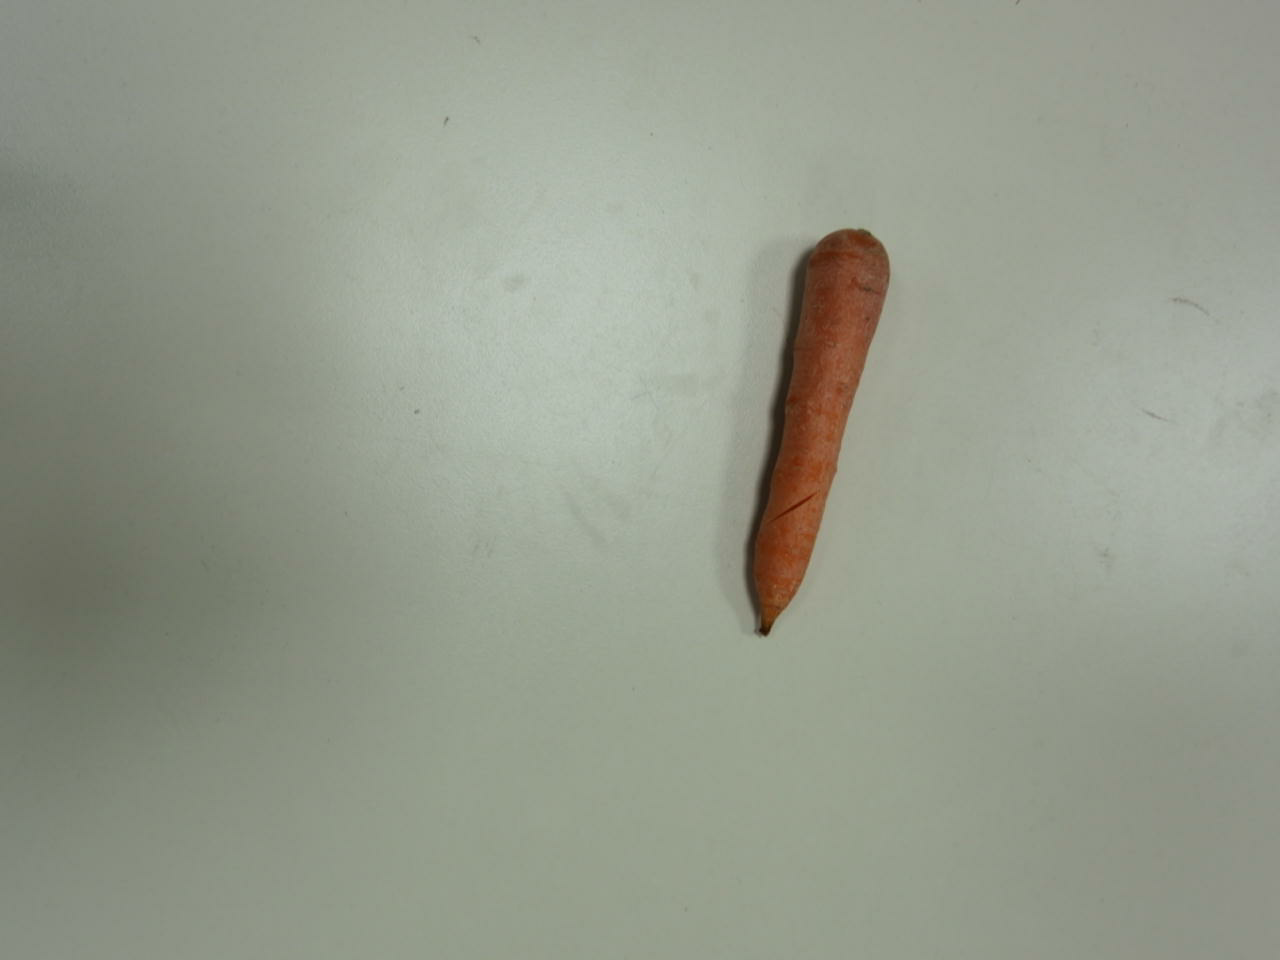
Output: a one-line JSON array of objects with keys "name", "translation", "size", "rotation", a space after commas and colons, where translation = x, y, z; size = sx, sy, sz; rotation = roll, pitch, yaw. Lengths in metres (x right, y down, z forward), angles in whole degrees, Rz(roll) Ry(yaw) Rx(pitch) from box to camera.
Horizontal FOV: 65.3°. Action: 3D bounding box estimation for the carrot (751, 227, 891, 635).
[{"name": "carrot", "translation": [0.083, -0.021, 0.470], "size": [0.039, 0.041, 0.196], "rotation": [11, 88, -12]}]
